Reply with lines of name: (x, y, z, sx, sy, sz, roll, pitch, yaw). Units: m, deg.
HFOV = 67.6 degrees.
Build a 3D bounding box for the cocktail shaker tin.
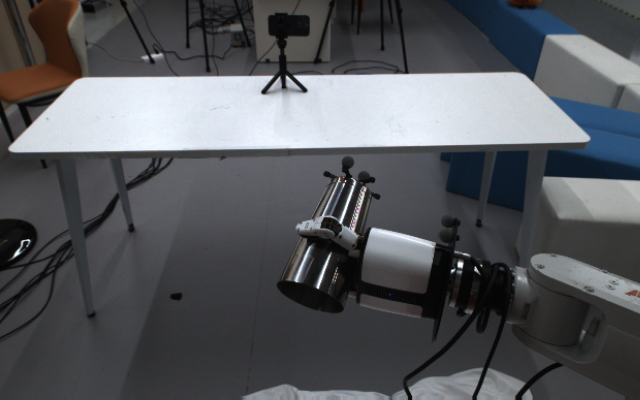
cocktail shaker tin: (0.013, 0.054, 0.653, 0.093, 0.093, 0.170, 15, 61, 17)
